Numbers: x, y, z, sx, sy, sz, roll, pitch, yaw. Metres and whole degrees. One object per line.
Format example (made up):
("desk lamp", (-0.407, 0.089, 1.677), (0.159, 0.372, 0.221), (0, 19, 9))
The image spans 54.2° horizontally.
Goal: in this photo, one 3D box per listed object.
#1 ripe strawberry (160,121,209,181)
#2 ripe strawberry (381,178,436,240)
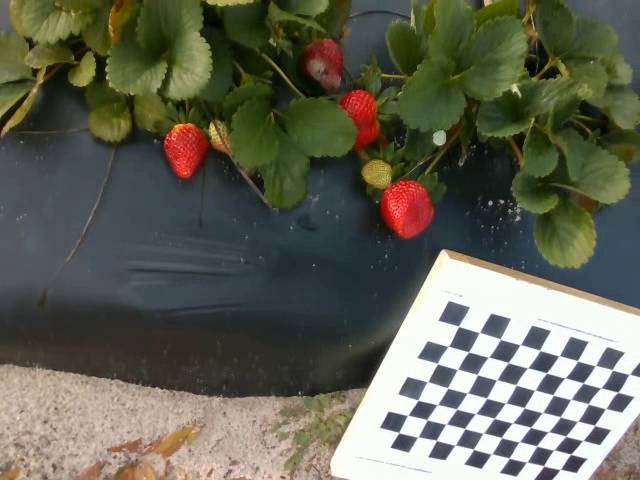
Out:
("ripe strawberry", (-0.047, -0.030, 0.215), (0.018, 0.021, 0.017), (-3, -15, -7))
("ripe strawberry", (0.033, -0.008, 0.233), (0.022, 0.025, 0.030), (13, 34, 14))
